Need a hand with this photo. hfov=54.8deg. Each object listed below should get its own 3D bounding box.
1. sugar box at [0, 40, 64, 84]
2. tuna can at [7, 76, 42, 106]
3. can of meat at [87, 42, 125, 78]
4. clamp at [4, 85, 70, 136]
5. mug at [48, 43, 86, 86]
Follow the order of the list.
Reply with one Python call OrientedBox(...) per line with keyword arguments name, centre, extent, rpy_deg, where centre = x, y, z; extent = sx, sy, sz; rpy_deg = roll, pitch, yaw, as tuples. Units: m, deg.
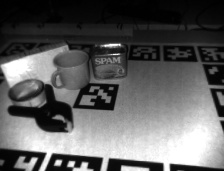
OrientedBox(name="sugar box", centre=(-0.211, -0.058, 0.596), extent=(0.178, 0.093, 0.045), rpy_deg=(-22, 42, -22))
OrientedBox(name="tuna can", centre=(-0.225, 0.016, 0.547), extent=(0.085, 0.034, 0.085), rpy_deg=(-2, 43, 3))
OrientedBox(name="can of meat", centre=(-0.015, -0.070, 0.603), extent=(0.102, 0.084, 0.057), rpy_deg=(-2, 40, 0))
OrientedBox(name="clamp", centre=(-0.156, 0.059, 0.501), extent=(0.163, 0.037, 0.123), rpy_deg=(33, 48, 29))
OrientedBox(name="mug", centre=(-0.122, -0.047, 0.572), extent=(0.092, 0.082, 0.118), rpy_deg=(21, 49, 26))
